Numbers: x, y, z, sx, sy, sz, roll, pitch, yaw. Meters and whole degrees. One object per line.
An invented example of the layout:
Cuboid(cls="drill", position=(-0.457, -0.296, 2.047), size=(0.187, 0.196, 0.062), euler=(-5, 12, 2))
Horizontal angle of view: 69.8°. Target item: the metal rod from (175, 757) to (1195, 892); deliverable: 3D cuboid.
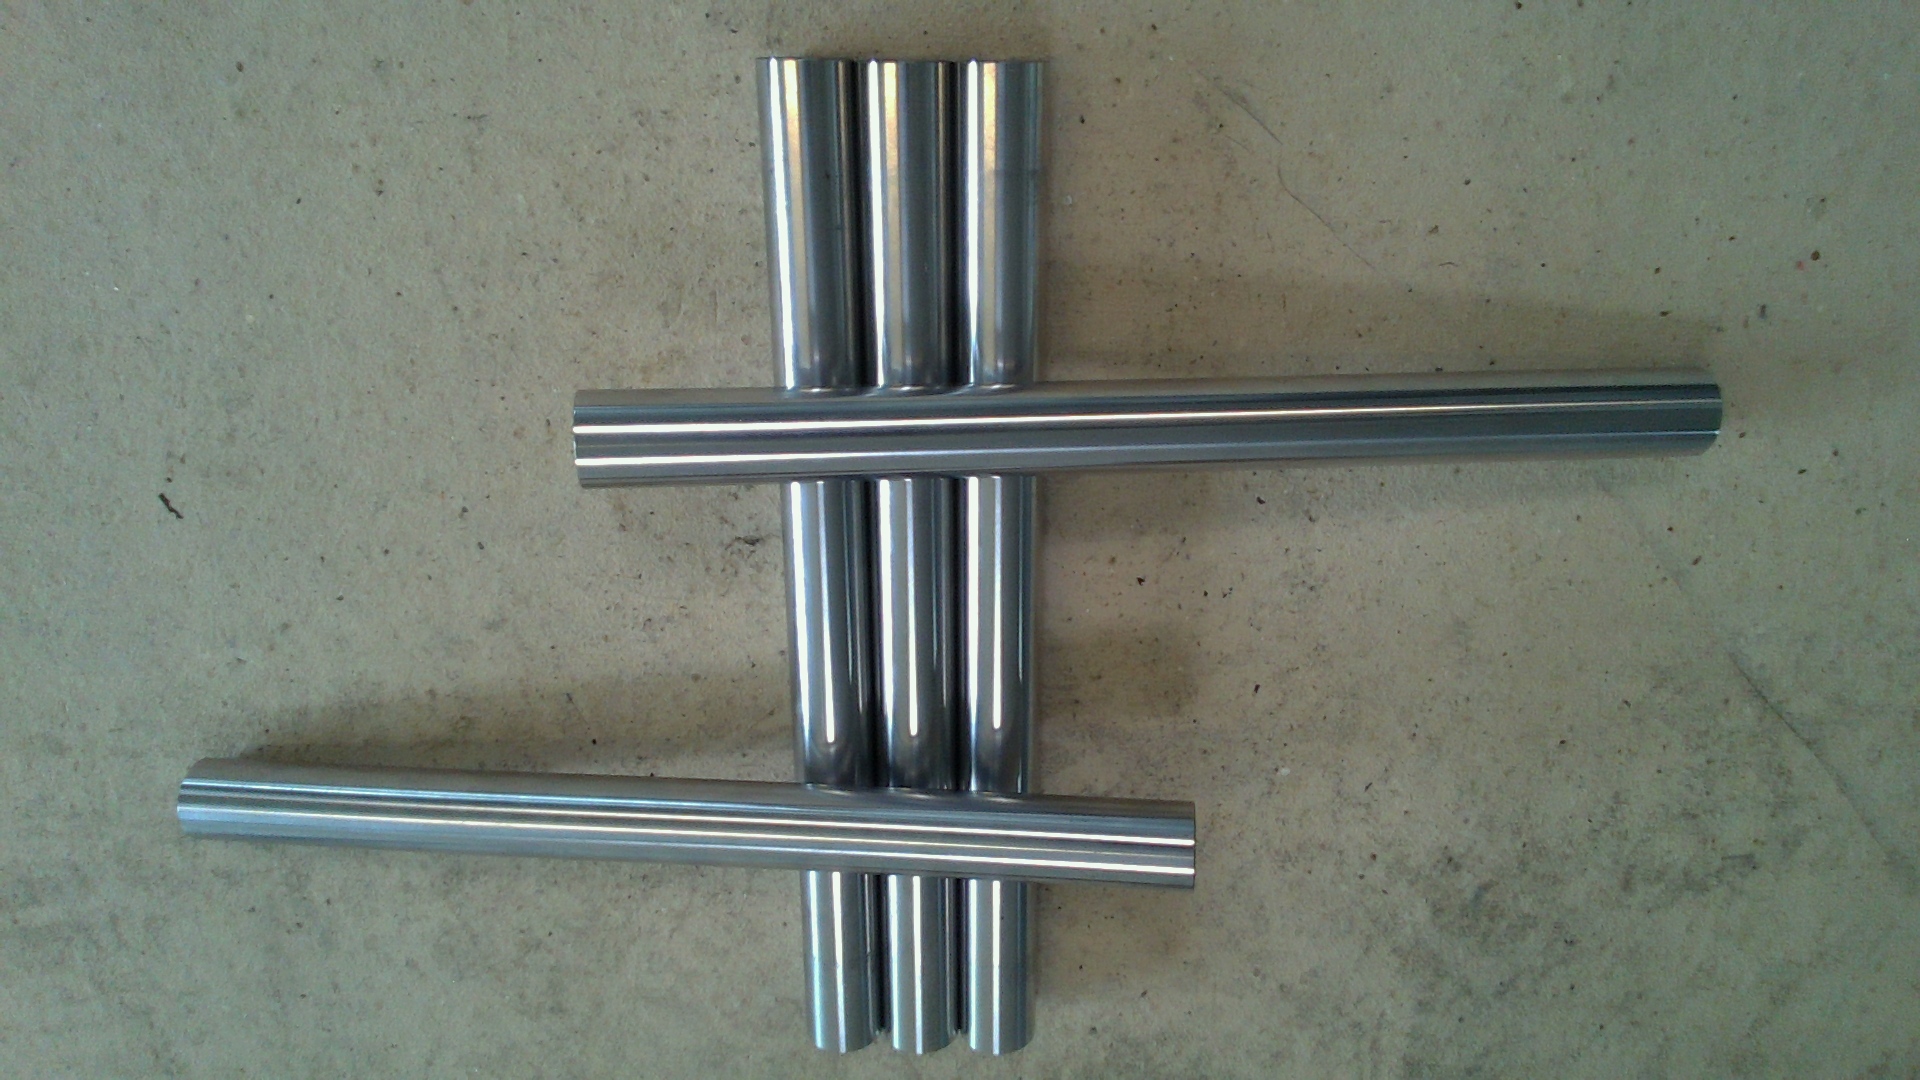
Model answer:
Cuboid(cls="metal rod", position=(-0.083, 0.082, 0.403), size=(0.300, 0.025, 0.025), euler=(1, 110, 7))

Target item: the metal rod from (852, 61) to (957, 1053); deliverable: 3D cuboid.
Cuboid(cls="metal rod", position=(-0.014, 0.019, 0.401), size=(0.025, 0.025, 0.300), euler=(0, 110, 0))

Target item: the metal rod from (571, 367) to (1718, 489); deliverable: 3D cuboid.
Cuboid(cls="metal rod", position=(0.054, -0.030, 0.363), size=(0.300, 0.025, 0.025), euler=(-2, 110, -8))

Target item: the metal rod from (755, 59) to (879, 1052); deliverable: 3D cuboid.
Cuboid(cls="metal rod", position=(-0.039, 0.019, 0.400), size=(0.025, 0.025, 0.300), euler=(0, 110, 0))

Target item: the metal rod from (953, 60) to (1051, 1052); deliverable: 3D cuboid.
Cuboid(cls="metal rod", position=(0.011, 0.019, 0.401), size=(0.025, 0.025, 0.300), euler=(0, 110, 0))
